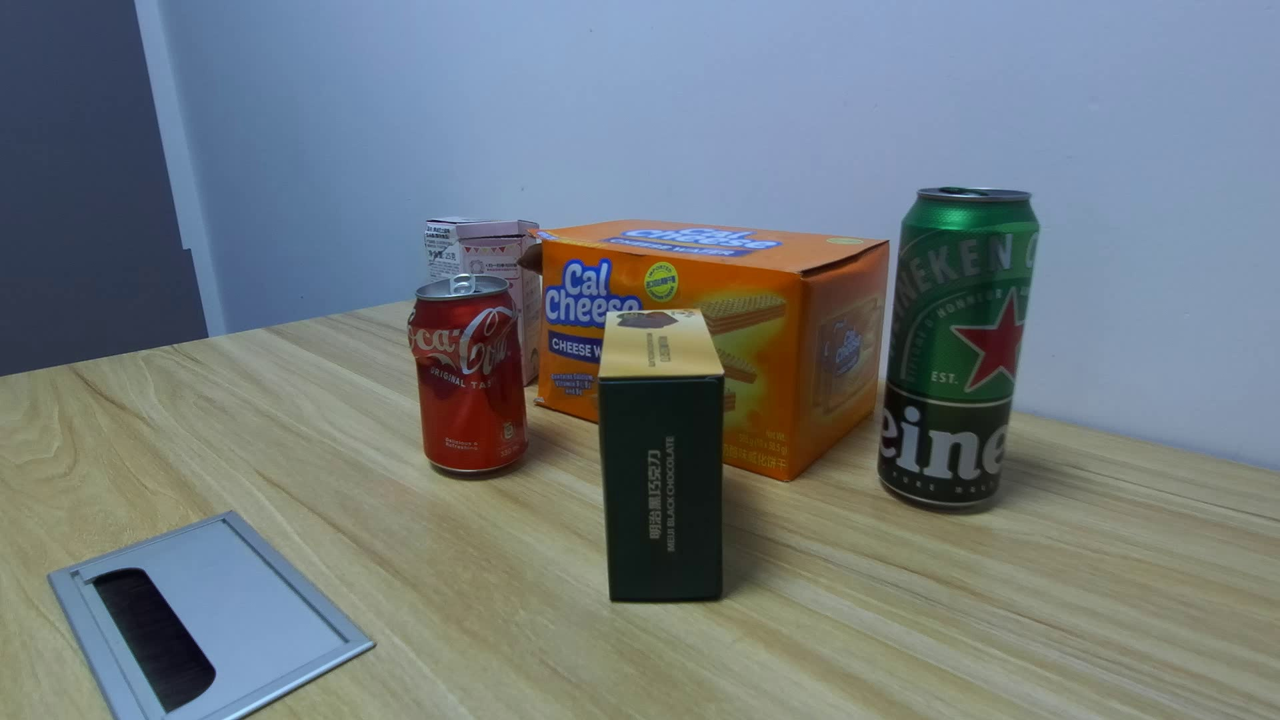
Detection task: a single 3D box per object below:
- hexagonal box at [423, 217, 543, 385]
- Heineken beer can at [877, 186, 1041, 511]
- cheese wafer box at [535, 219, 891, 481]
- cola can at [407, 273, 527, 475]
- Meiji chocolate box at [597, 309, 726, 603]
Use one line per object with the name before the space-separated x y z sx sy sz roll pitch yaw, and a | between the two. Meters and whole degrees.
hexagonal box | -0.125 -0.050 0.589 0.092 0.085 0.135 -4 -72 -11
Heineken beer can | 0.170 -0.005 0.386 0.067 0.067 0.169 0 -73 3
cheese wafer box | 0.044 -0.026 0.510 0.226 0.150 0.137 13 -68 36
cola can | -0.105 0.008 0.439 0.066 0.066 0.117 9 -69 27
Meiji chocolate box | 0.013 0.055 0.364 0.056 0.109 0.110 -2 -87 2
